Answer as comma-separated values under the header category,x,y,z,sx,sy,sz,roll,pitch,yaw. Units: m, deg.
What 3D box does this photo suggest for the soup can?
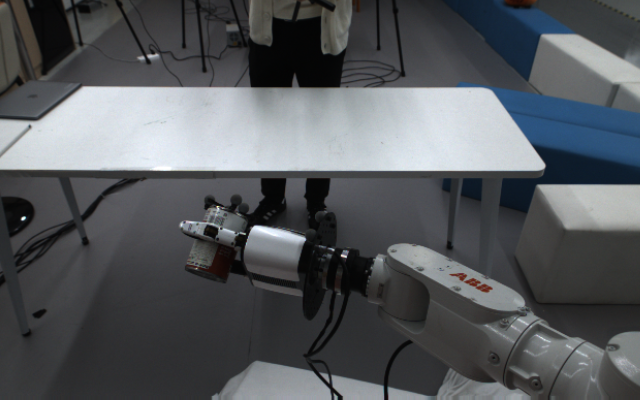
category,x,y,z,sx,sy,sz,roll,pitch,yaw
soup can,-0.157,0.070,0.737,0.067,0.067,0.101,12,71,14
